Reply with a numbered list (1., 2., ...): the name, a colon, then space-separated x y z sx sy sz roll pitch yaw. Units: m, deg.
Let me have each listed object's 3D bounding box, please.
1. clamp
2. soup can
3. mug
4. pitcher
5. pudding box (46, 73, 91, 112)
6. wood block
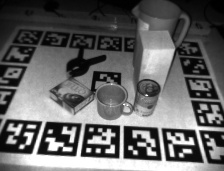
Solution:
1. clamp: -0.110 -0.094 0.801 0.121 0.036 0.166 30 53 12
2. soup can: 0.099 0.028 0.653 0.068 0.102 0.067 2 50 -1
3. mug: 0.005 0.046 0.645 0.116 0.082 0.094 30 51 23
4. pitcher: 0.149 -0.172 0.745 0.189 0.244 0.132 0 46 0
5. pudding box: -0.136 0.021 0.689 0.112 0.039 0.090 32 56 23
6. wood block: 0.120 -0.073 0.674 0.090 0.207 0.090 2 47 -6
